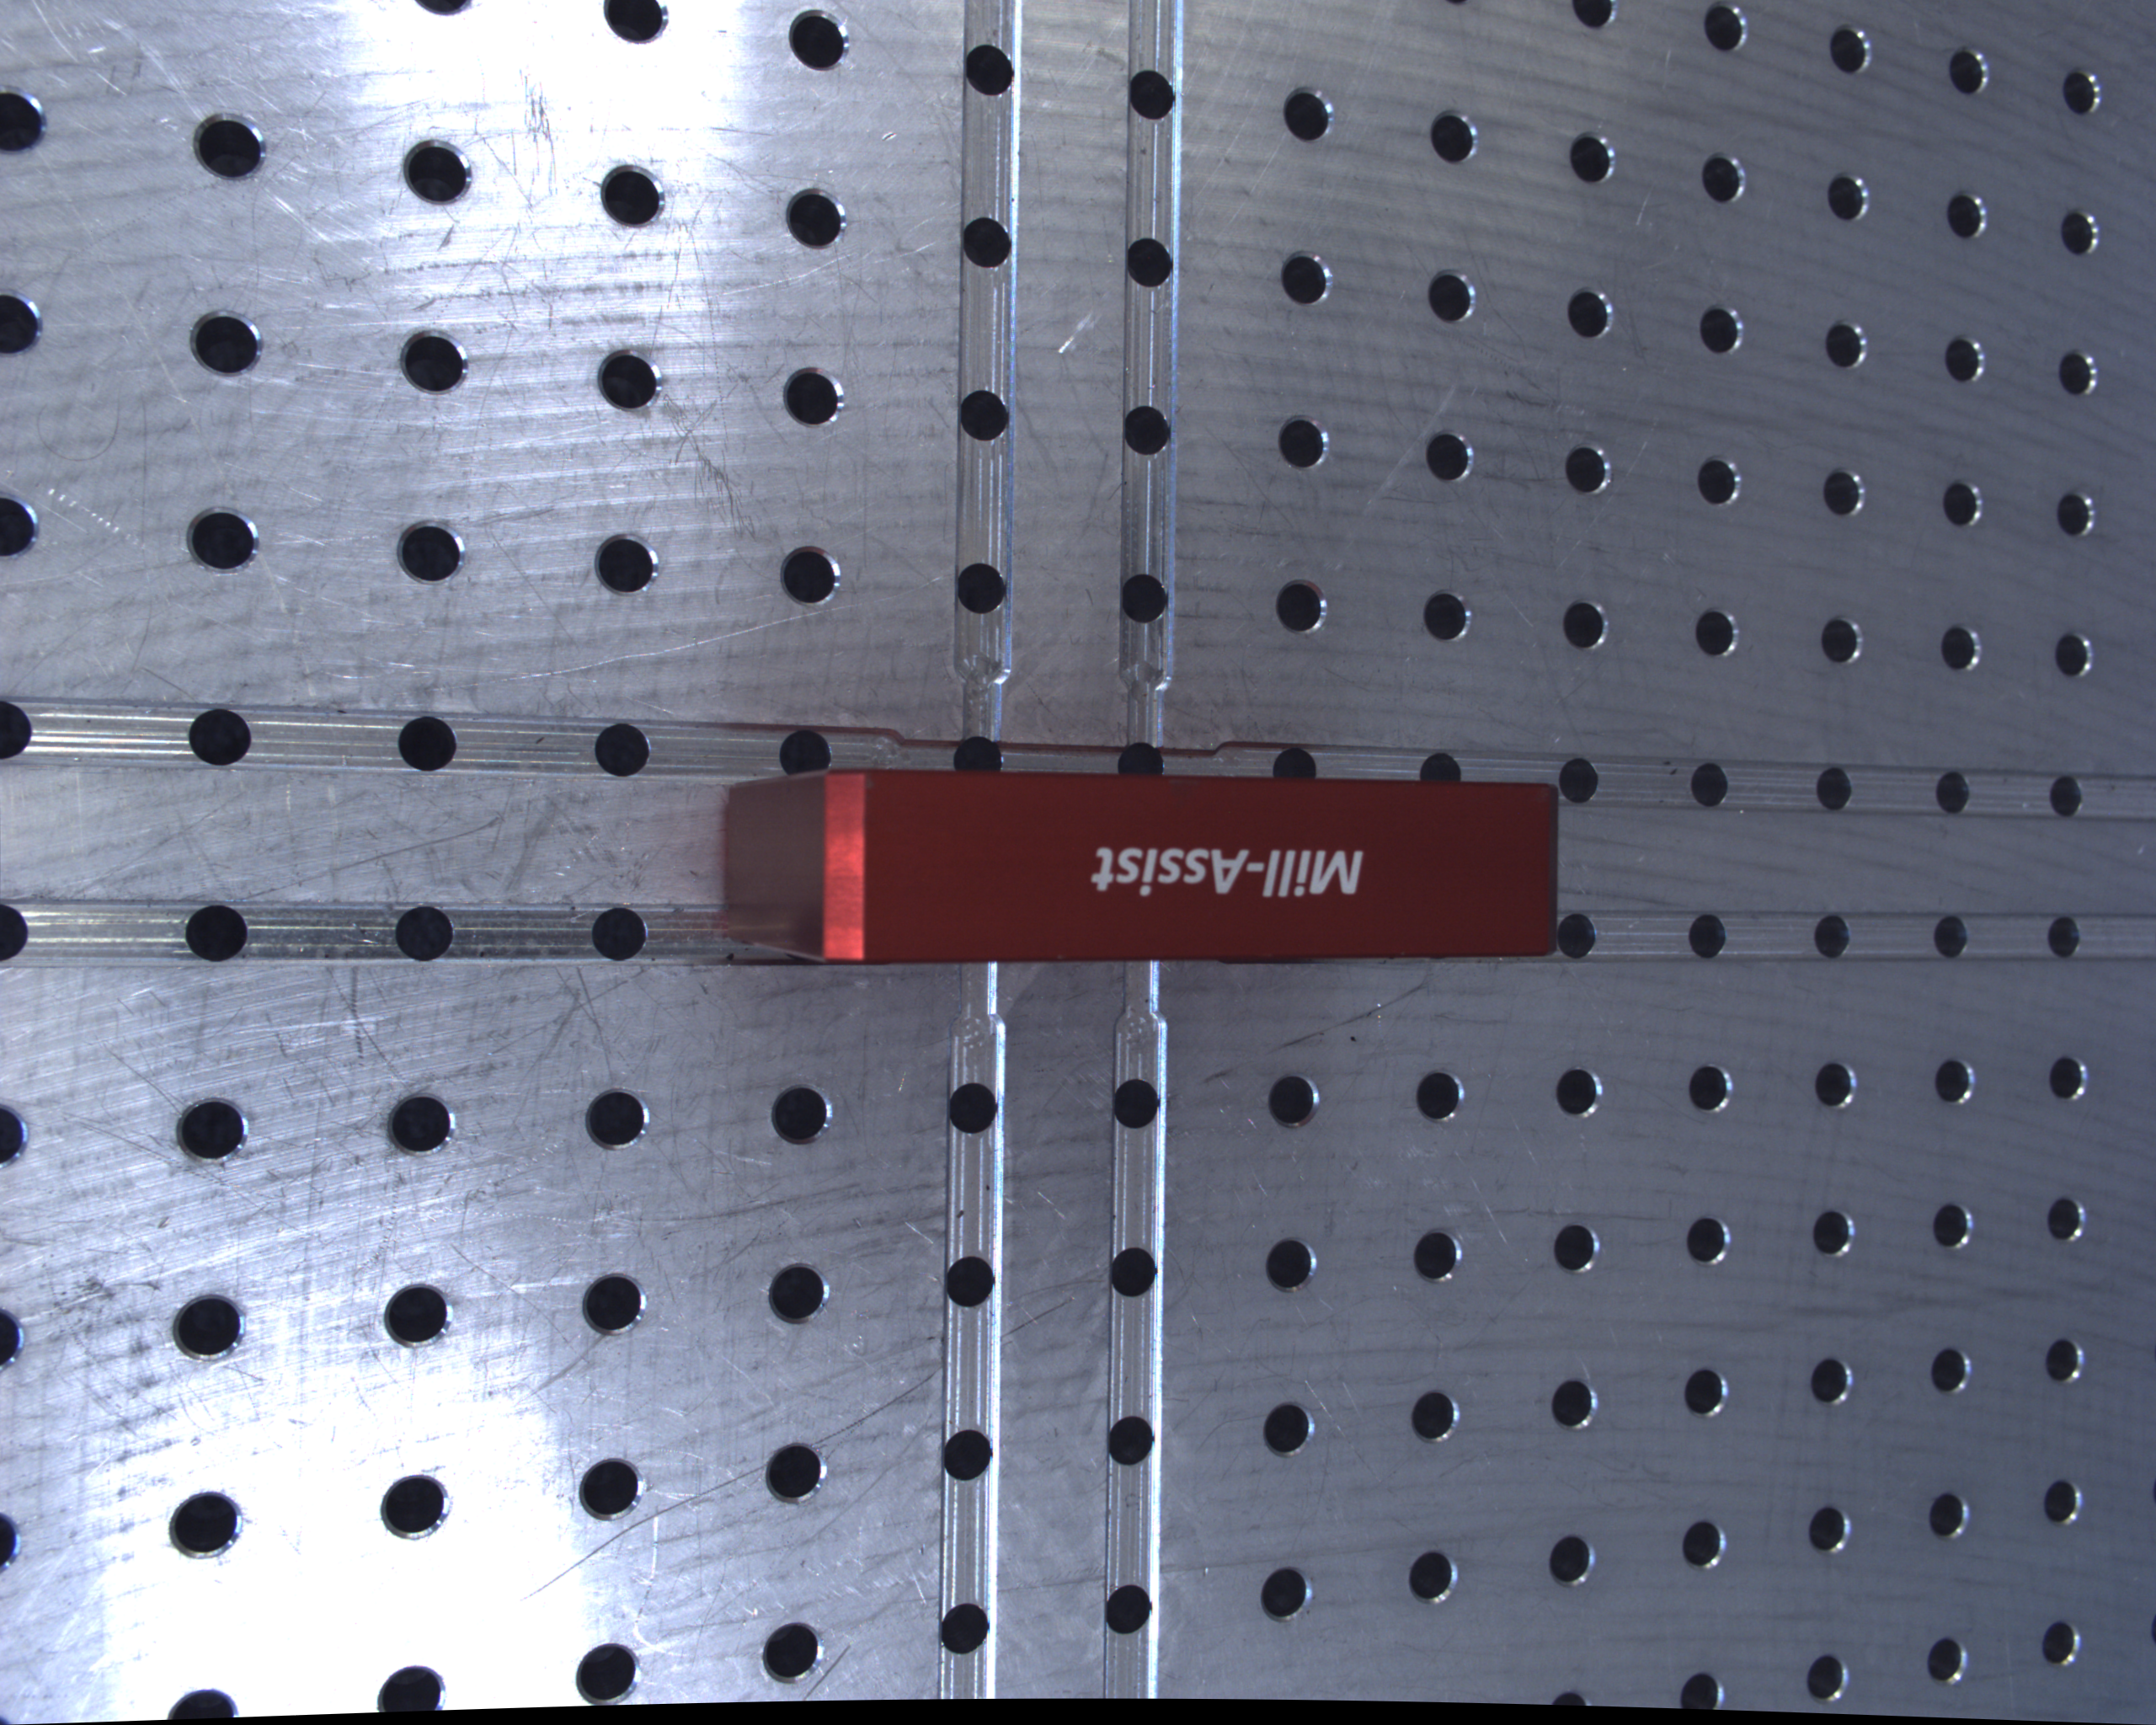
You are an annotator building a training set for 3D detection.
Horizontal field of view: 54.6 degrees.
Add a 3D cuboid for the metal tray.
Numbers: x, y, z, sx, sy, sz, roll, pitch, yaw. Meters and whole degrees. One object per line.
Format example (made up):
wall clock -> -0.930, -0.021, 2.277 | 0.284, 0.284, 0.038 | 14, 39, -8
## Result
metal tray -> 0.009, 0.001, 0.381 | 0.131, 0.090, 0.030 | 0, 90, -20
